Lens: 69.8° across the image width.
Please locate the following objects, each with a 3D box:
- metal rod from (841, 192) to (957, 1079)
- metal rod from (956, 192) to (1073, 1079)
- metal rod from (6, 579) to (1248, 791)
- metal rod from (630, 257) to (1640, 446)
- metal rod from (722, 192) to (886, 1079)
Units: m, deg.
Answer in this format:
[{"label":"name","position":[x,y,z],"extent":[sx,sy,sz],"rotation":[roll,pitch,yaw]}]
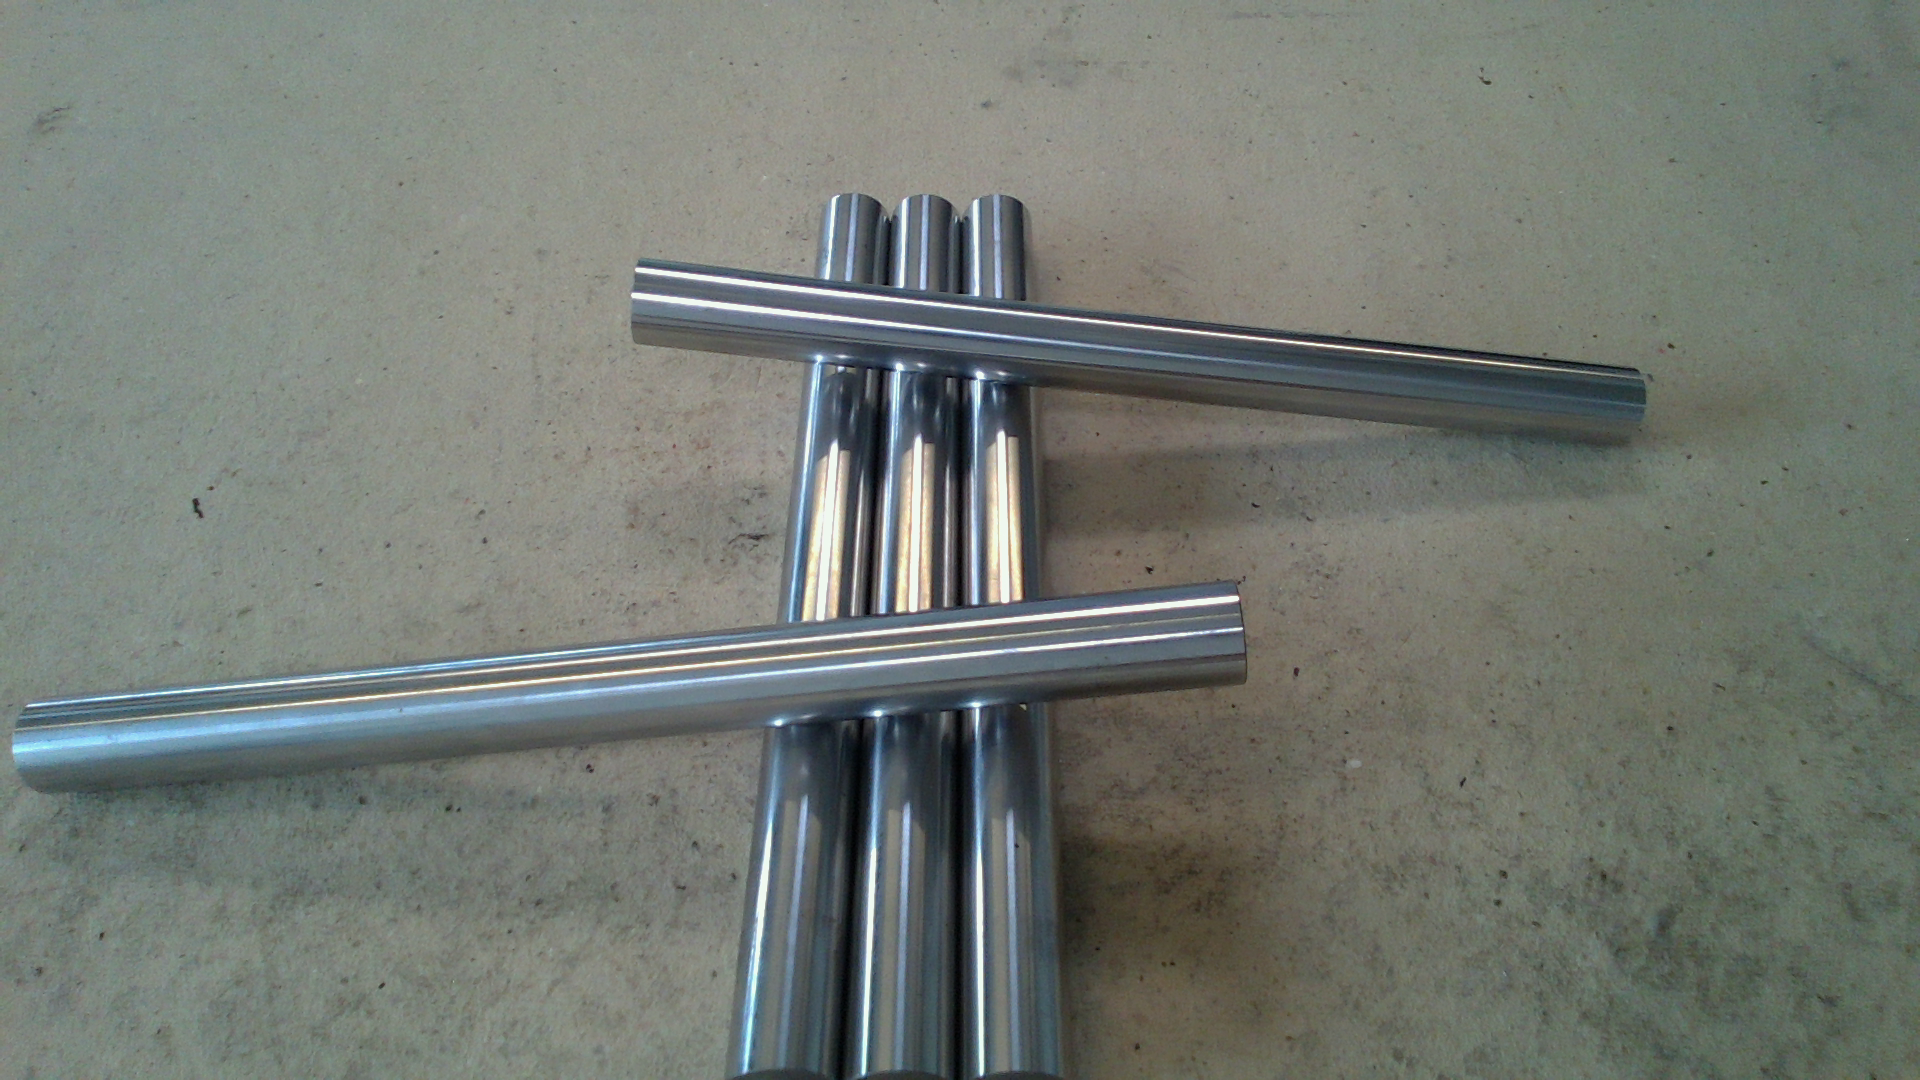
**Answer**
[{"label":"metal rod","position":[-0.013,0.002,0.389],"extent":[0.025,0.025,0.300],"rotation":[0,50,0]},{"label":"metal rod","position":[0.012,0.002,0.389],"extent":[0.025,0.025,0.300],"rotation":[0,50,0]},{"label":"metal rod","position":[-0.083,0.036,0.336],"extent":[0.300,0.025,0.025],"rotation":[-6,50,5]},{"label":"metal rod","position":[0.055,-0.055,0.413],"extent":[0.300,0.025,0.025],"rotation":[5,50,-5]},{"label":"metal rod","position":[-0.038,0.002,0.389],"extent":[0.025,0.025,0.300],"rotation":[0,50,0]}]
